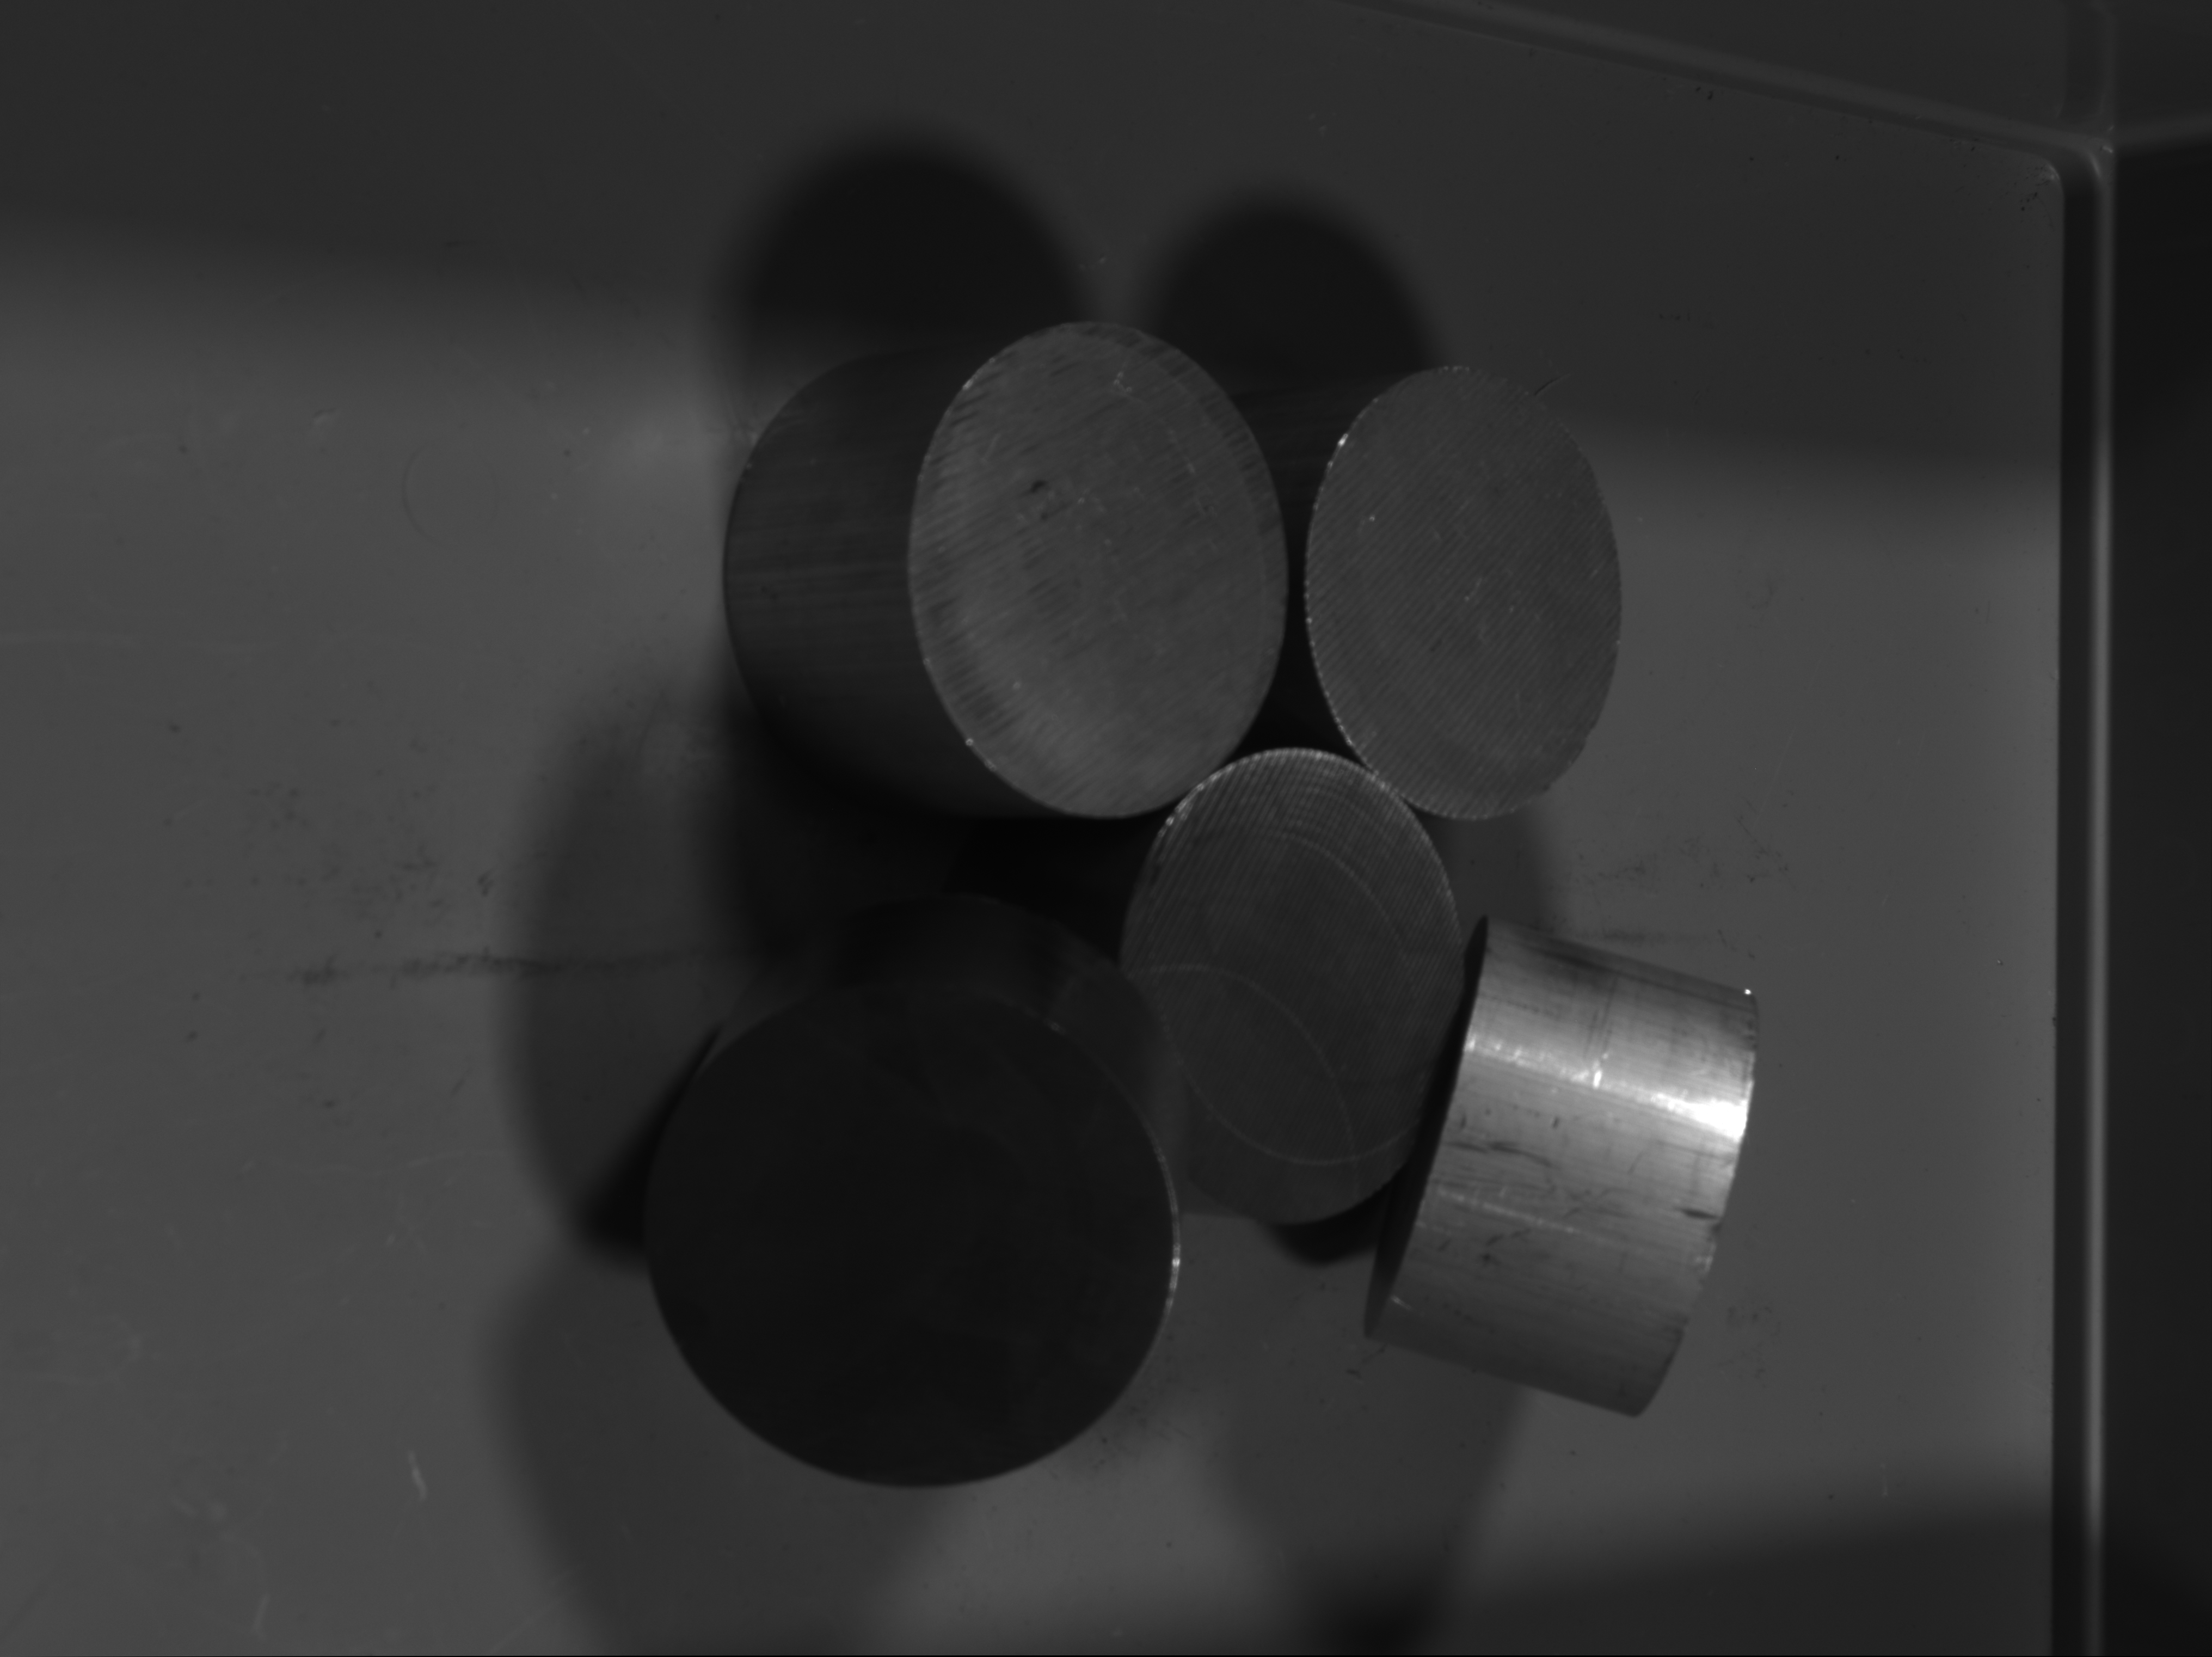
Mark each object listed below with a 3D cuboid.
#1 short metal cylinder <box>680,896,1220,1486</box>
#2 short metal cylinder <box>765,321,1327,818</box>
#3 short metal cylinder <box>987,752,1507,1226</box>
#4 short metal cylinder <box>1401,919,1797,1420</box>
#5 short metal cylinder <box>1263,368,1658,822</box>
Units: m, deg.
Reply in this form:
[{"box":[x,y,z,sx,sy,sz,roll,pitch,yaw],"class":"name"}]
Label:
[{"box":[-0.023,0.056,0.574,0.050,0.080,0.080,-73,148,-76],"class":"short metal cylinder"},{"box":[-0.009,-0.042,0.610,0.080,0.050,0.080,0,90,-40],"class":"short metal cylinder"},{"box":[0.024,0.027,0.637,0.080,0.050,0.080,0,90,-40],"class":"short metal cylinder"},{"box":[0.089,0.062,0.666,0.050,0.080,0.080,16,77,2],"class":"short metal cylinder"},{"box":[0.055,-0.041,0.665,0.080,0.050,0.080,0,90,-40],"class":"short metal cylinder"}]
